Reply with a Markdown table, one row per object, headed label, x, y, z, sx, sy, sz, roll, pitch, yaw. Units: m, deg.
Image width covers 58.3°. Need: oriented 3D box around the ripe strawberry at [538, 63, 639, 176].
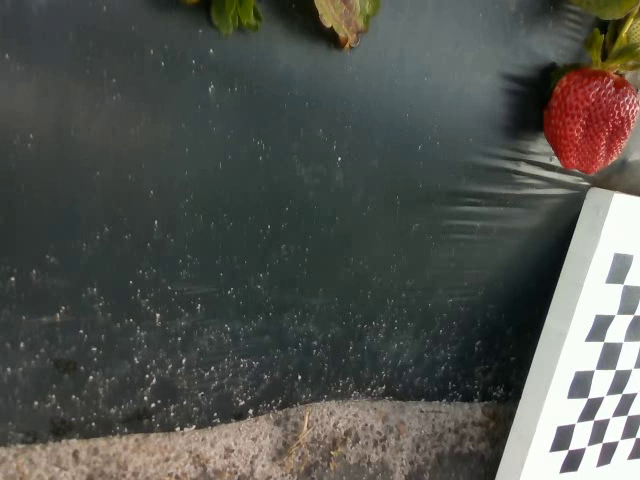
| label | x | y | z | sx | sy | sz | roll | pitch | yaw |
| --- | --- | --- | --- | --- | --- | --- | --- | --- | --- |
| ripe strawberry | 0.175 | -0.076 | 0.365 | 0.067 | 0.075 | 0.039 | 10 | 10 | -27 |
